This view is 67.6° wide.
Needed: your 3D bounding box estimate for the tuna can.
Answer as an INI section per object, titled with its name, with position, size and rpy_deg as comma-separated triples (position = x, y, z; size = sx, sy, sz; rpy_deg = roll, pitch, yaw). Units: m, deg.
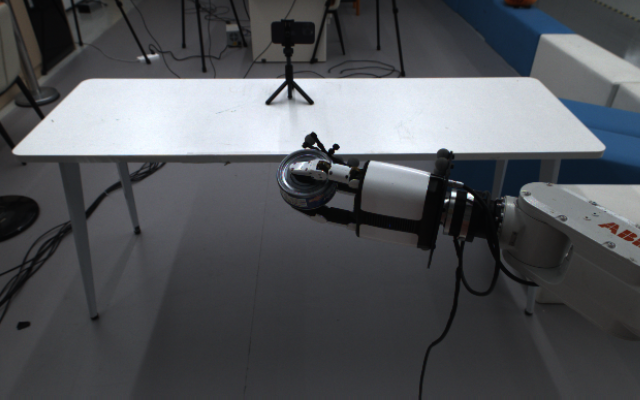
[tuna can]
position = -0.017, -0.032, 0.690
size = 0.085, 0.034, 0.085
rpy_deg = -4, 58, 6
